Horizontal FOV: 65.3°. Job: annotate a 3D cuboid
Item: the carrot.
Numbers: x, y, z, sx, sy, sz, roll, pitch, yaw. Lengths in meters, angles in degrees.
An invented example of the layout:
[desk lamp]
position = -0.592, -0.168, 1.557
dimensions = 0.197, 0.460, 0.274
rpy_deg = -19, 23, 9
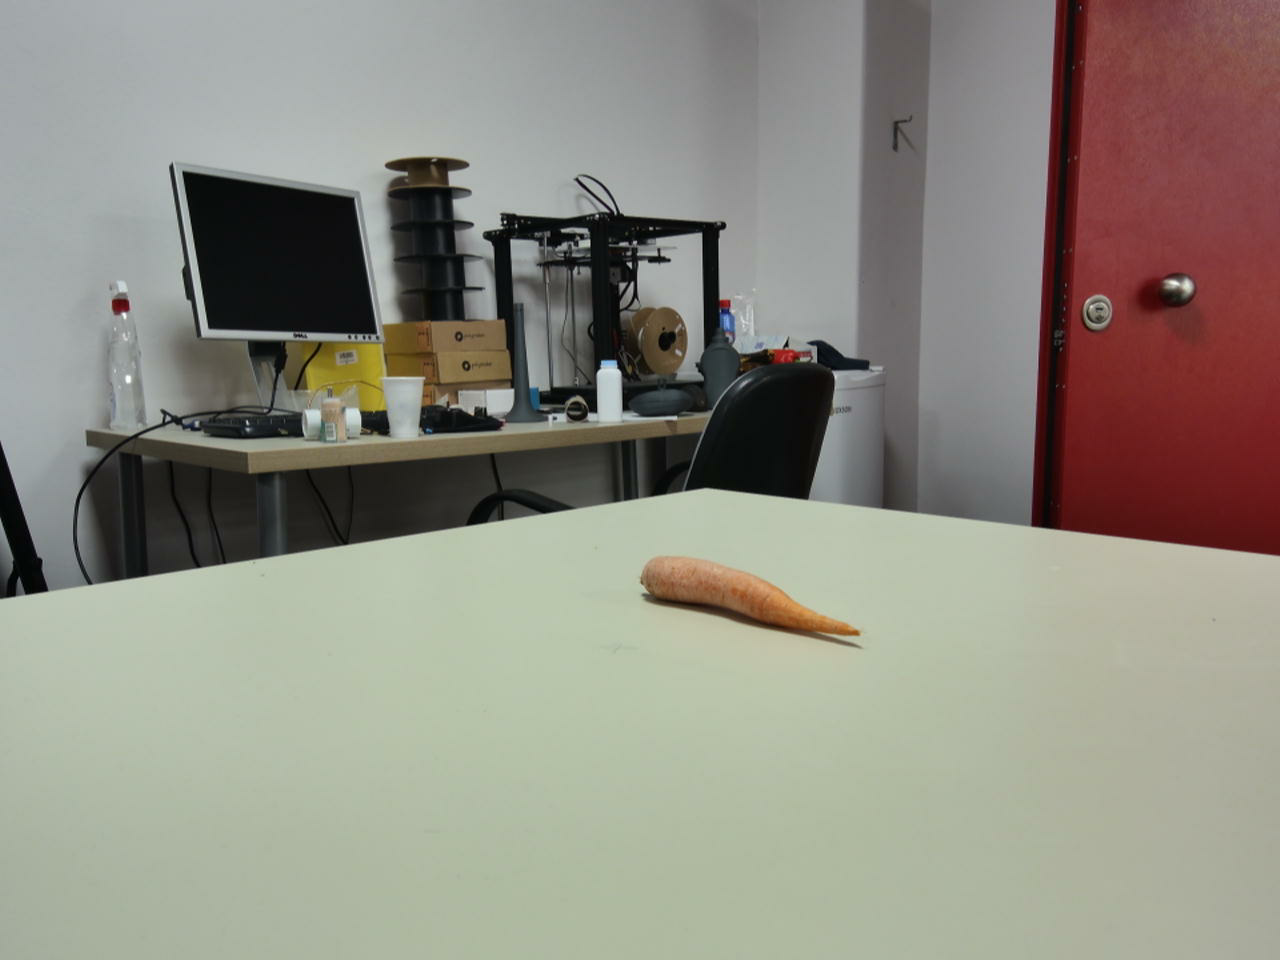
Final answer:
[carrot]
position = 0.057, 0.064, 0.565
dimensions = 0.031, 0.029, 0.163
rpy_deg = -4, 8, -43
